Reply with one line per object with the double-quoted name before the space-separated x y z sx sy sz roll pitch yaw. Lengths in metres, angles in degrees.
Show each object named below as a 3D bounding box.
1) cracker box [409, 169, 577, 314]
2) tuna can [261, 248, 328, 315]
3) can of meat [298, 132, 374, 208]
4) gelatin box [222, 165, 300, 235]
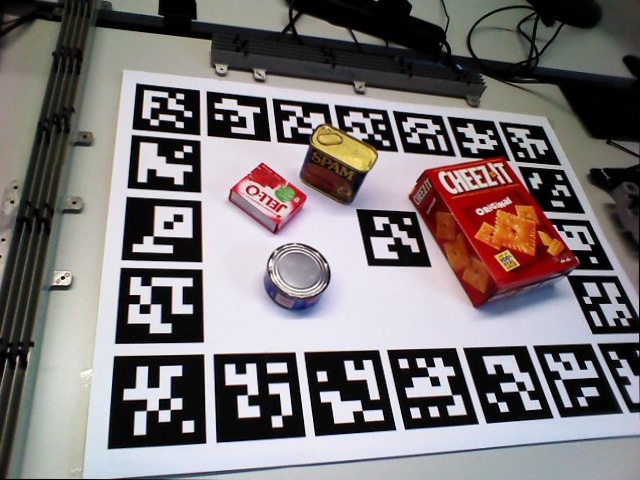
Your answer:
"cracker box" 0.266 -0.007 0.807 0.163 0.072 0.213 -12 58 -26
"tuna can" -0.034 0.055 0.683 0.086 0.034 0.085 7 57 -11
"can of meat" 0.021 -0.105 0.797 0.102 0.084 0.057 26 51 3
"gelatin box" -0.086 -0.060 0.757 0.089 0.030 0.073 37 50 8
